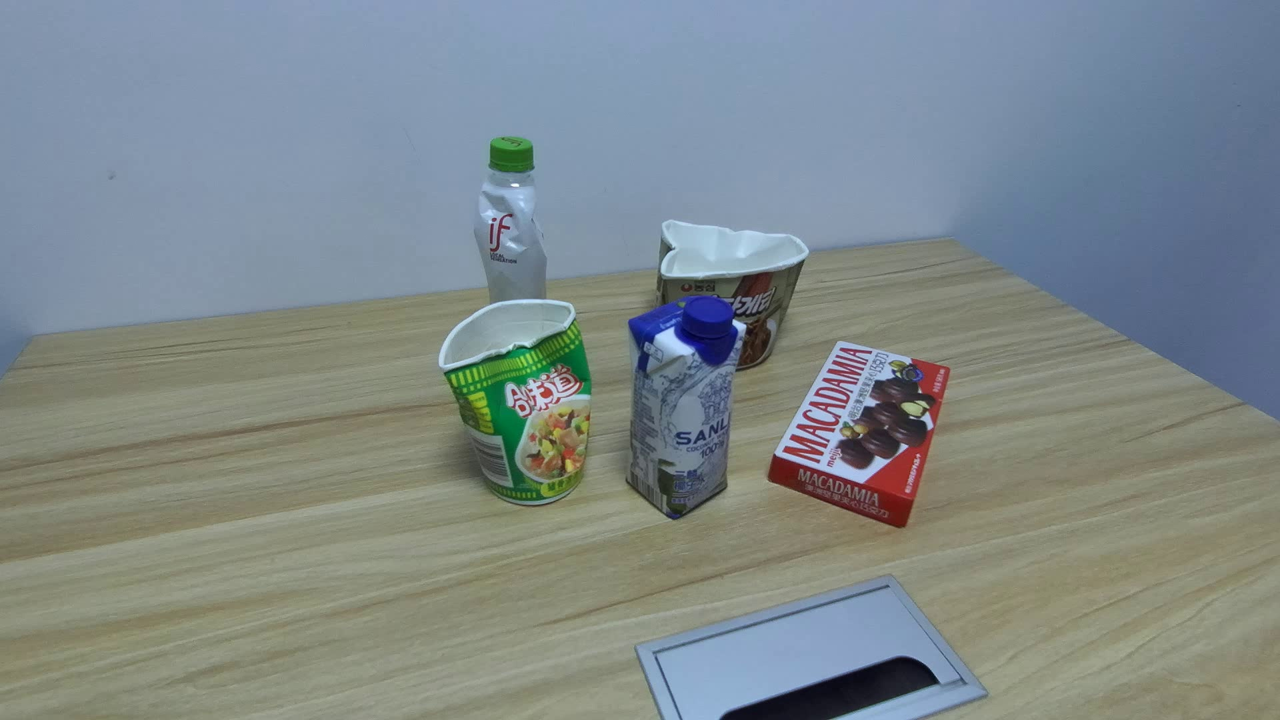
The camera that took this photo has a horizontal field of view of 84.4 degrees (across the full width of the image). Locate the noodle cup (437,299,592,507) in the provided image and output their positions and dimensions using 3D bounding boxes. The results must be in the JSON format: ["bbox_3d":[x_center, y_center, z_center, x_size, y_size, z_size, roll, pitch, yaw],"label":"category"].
[{"bbox_3d":[-0.072,0.029,0.460,0.083,0.122,0.075,-13,27,-5],"label":"noodle cup"}]

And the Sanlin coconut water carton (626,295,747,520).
[{"bbox_3d":[0.027,0.025,0.438,0.061,0.144,0.060,-25,40,-35],"label":"Sanlin coconut water carton"}]

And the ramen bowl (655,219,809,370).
[{"bbox_3d":[0.077,-0.058,0.616,0.134,0.097,0.113,-1,32,-4],"label":"ramen bowl"}]

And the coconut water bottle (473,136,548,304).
[{"bbox_3d":[-0.095,-0.072,0.548,0.067,0.187,0.067,2,26,-1],"label":"coconut water bottle"}]

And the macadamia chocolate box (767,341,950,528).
[{"bbox_3d":[0.170,0.046,0.529,0.095,0.027,0.178,17,35,23],"label":"macadamia chocolate box"}]
